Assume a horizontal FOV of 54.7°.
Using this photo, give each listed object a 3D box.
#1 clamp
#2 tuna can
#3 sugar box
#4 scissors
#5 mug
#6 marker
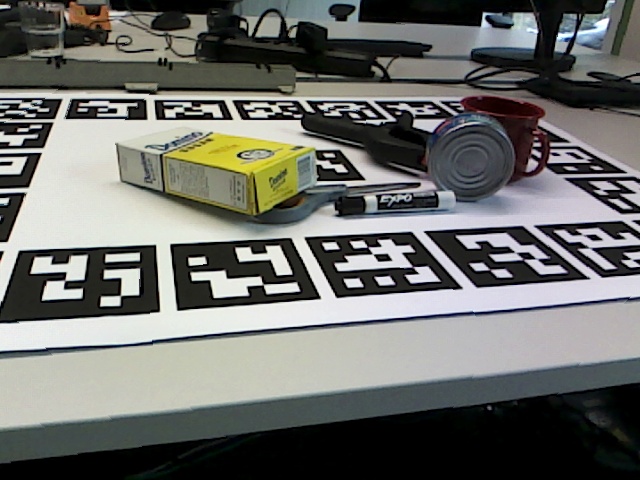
[{"bbox_3d":[0.086,-0.114,0.765,0.164,0.036,0.204,-8,33,-24],"label":"clamp"},{"bbox_3d":[0.154,-0.075,0.635,0.086,0.085,0.034,6,29,1],"label":"tuna can"},{"bbox_3d":[-0.100,-0.066,0.604,0.177,0.045,0.092,19,31,34],"label":"sugar box"},{"bbox_3d":[0.007,-0.046,0.619,0.202,0.016,0.088,-7,27,-25],"label":"scissors"},{"bbox_3d":[0.198,-0.099,0.697,0.093,0.081,0.118,-19,34,-38],"label":"mug"},{"bbox_3d":[0.061,-0.025,0.597,0.120,0.019,0.020,-5,32,-17],"label":"marker"}]
